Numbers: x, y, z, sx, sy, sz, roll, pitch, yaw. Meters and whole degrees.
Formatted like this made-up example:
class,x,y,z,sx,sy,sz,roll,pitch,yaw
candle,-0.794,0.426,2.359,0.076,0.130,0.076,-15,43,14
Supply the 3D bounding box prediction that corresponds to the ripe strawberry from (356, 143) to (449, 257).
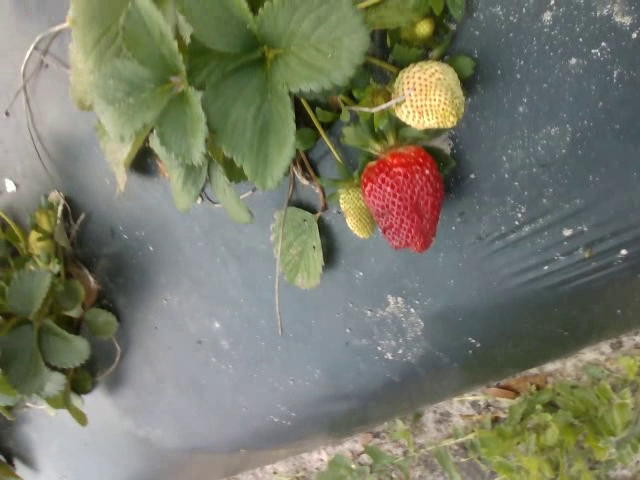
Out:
class,x,y,z,sx,sy,sz,roll,pitch,yaw
ripe strawberry,0.045,-0.018,0.299,0.046,0.059,0.047,1,-21,-39
